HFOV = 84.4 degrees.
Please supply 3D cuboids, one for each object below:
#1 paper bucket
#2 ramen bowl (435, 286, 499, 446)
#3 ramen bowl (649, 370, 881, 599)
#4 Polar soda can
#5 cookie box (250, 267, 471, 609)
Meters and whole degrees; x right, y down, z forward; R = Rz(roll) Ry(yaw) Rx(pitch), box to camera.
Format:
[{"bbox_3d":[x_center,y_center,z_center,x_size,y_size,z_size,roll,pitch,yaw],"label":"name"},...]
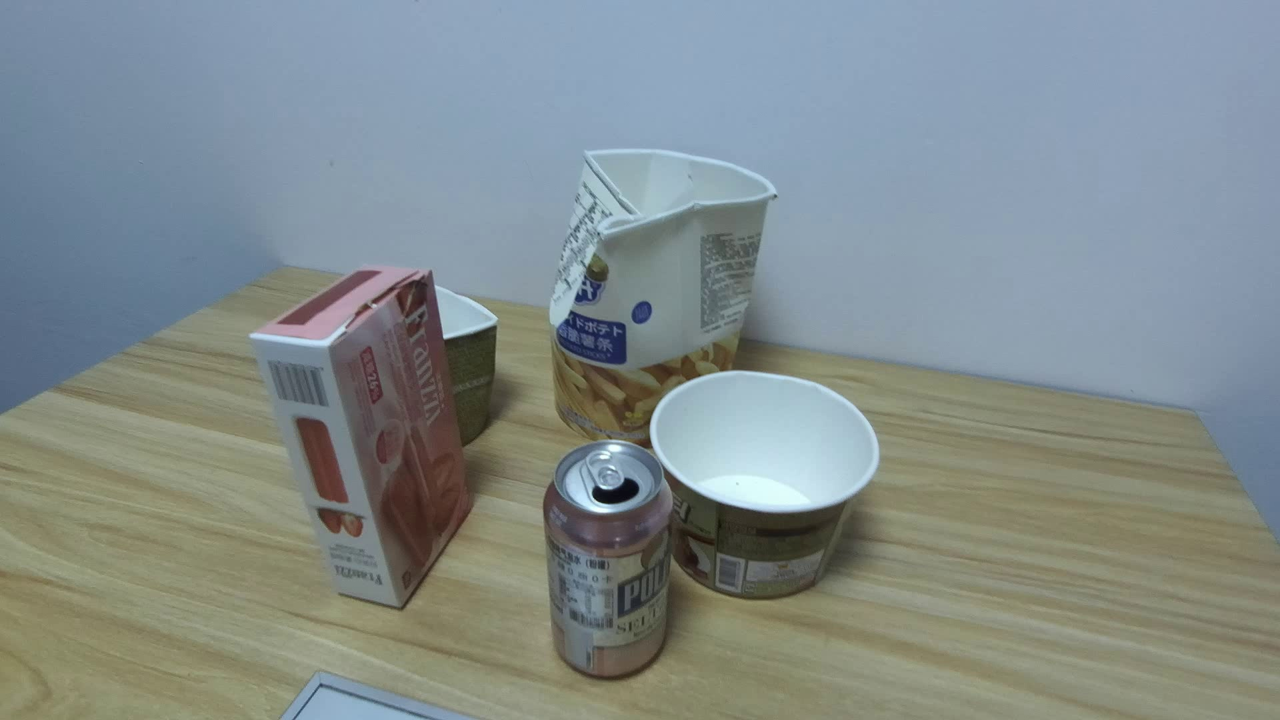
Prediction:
[{"bbox_3d":[-0.003,-0.053,0.578,0.170,0.202,0.162,-16,34,-31],"label":"paper bucket"},{"bbox_3d":[-0.184,0.012,0.560,0.111,0.093,0.129,22,36,27],"label":"ramen bowl"},{"bbox_3d":[0.076,0.082,0.457,0.140,0.095,0.140,0,31,0],"label":"ramen bowl"},{"bbox_3d":[-0.016,0.108,0.382,0.067,0.125,0.067,1,31,0],"label":"Polar soda can"},{"bbox_3d":[-0.151,0.043,0.422,0.049,0.188,0.105,7,31,14],"label":"cookie box"}]
